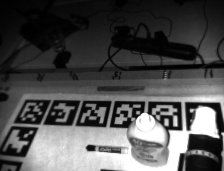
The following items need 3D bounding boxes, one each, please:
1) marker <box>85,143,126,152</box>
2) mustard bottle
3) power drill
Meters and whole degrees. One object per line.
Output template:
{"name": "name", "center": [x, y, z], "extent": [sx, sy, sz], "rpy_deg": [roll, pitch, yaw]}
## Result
{"name": "marker", "center": [-0.021, 0.180, 0.626], "extent": [0.120, 0.020, 0.019], "rpy_deg": [0, 51, 13]}
{"name": "mustard bottle", "center": [0.084, 0.128, 0.529], "extent": [0.095, 0.193, 0.058], "rpy_deg": [7, 53, 19]}
{"name": "power drill", "center": [0.174, 0.164, 0.454], "extent": [0.057, 0.188, 0.185], "rpy_deg": [10, 51, 20]}
